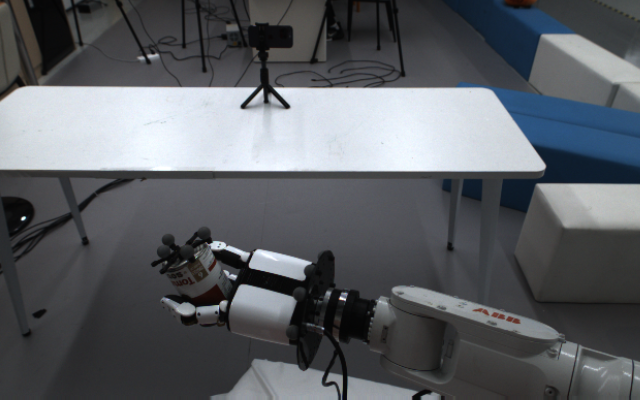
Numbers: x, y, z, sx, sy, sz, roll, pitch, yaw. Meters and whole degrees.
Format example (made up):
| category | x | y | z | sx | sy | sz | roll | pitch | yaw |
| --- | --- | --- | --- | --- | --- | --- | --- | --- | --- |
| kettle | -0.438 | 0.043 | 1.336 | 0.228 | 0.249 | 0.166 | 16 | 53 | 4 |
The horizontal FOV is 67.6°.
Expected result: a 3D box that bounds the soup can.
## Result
| category | x | y | z | sx | sy | sz | roll | pitch | yaw |
| --- | --- | --- | --- | --- | --- | --- | --- | --- | --- |
| soup can | -0.160 | 0.116 | 0.669 | 0.067 | 0.101 | 0.067 | -22 | 24 | 10 |
